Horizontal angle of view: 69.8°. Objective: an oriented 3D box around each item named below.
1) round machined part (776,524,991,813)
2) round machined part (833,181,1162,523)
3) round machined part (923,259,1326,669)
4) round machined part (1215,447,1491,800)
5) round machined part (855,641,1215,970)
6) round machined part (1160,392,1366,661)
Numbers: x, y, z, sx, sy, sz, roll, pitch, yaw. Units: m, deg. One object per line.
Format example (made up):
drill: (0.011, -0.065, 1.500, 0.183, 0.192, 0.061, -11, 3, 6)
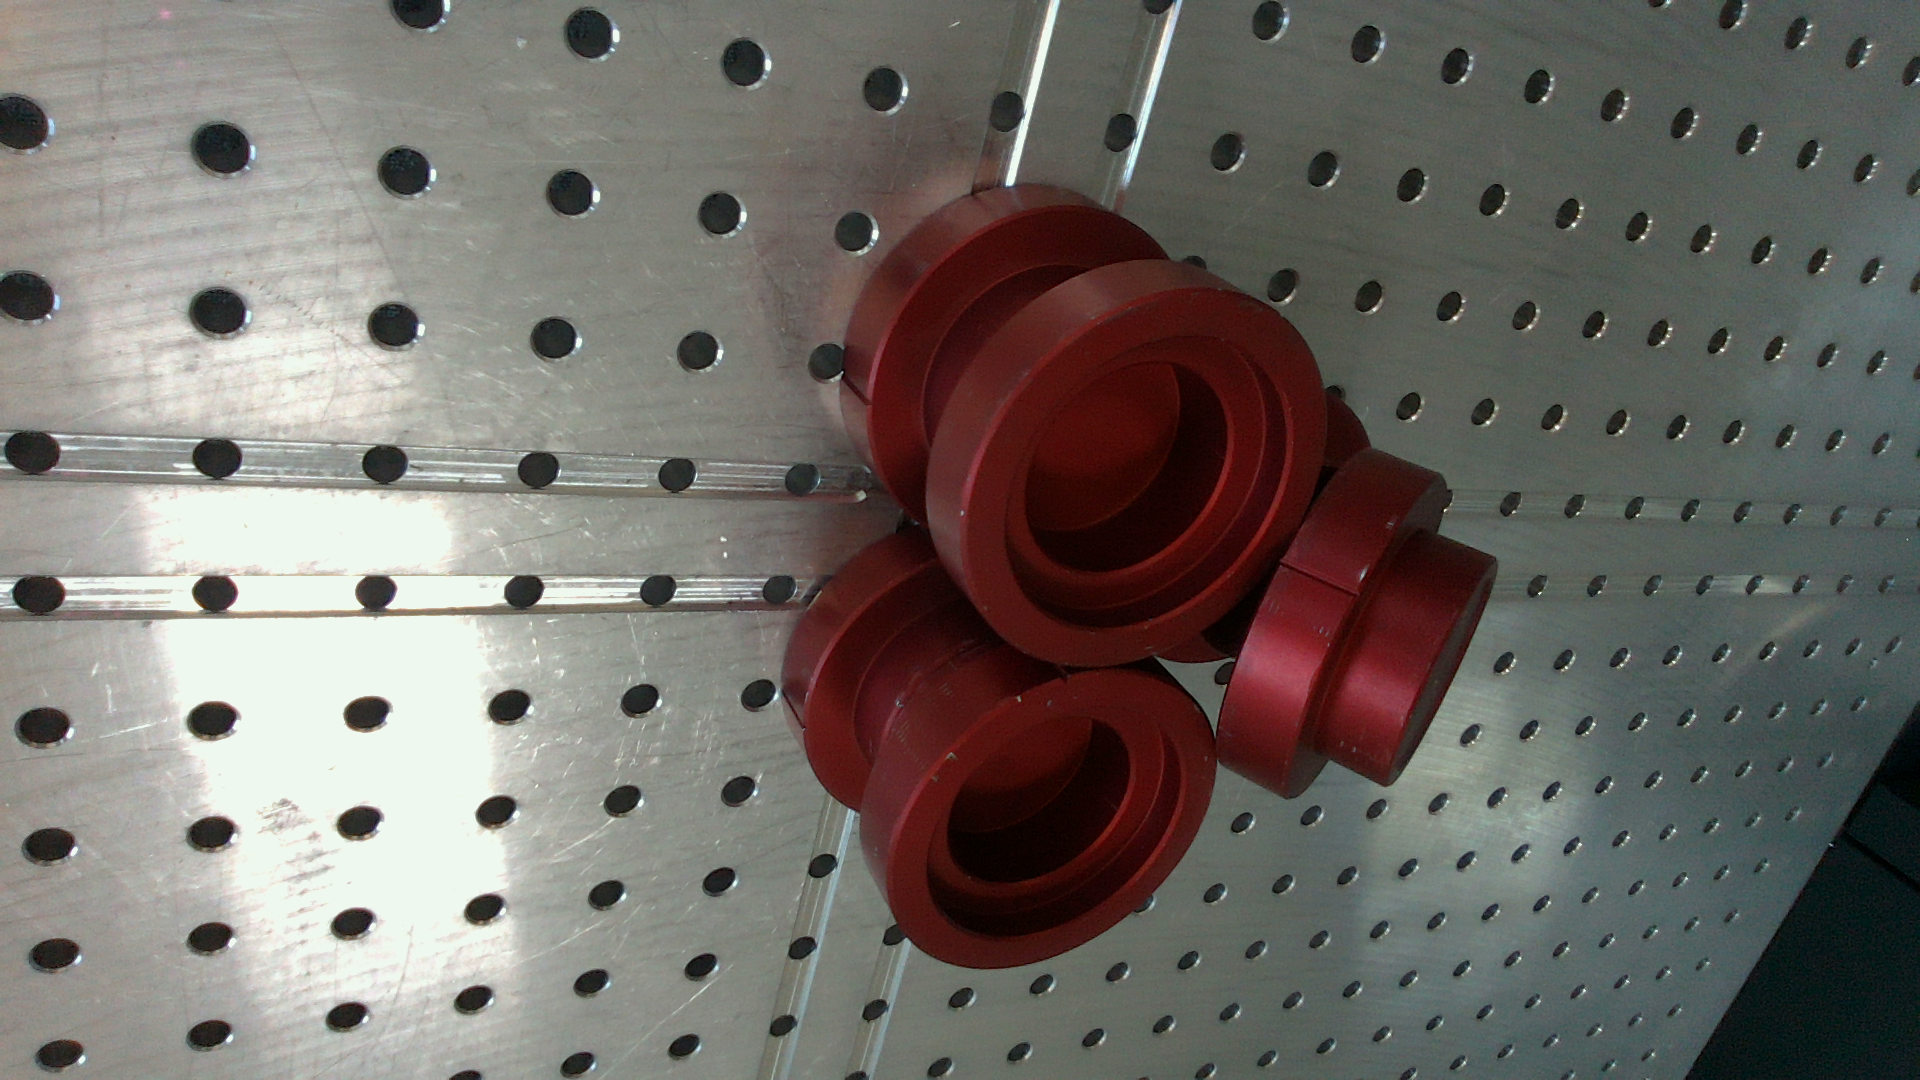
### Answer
round machined part: (-0.001, 0.045, 0.409, 0.098, 0.042, 0.098, -14, 124, -21)
round machined part: (0.019, -0.042, 0.367, 0.098, 0.042, 0.098, -14, 124, -21)
round machined part: (0.036, -0.021, 0.333, 0.098, 0.042, 0.098, -14, 124, -21)
round machined part: (0.111, 0.027, 0.377, 0.098, 0.042, 0.098, -45, 149, -36)
round machined part: (0.017, 0.066, 0.376, 0.098, 0.042, 0.098, -14, 124, -21)
round machined part: (0.088, -0.003, 0.427, 0.098, 0.042, 0.098, -14, 124, -21)
